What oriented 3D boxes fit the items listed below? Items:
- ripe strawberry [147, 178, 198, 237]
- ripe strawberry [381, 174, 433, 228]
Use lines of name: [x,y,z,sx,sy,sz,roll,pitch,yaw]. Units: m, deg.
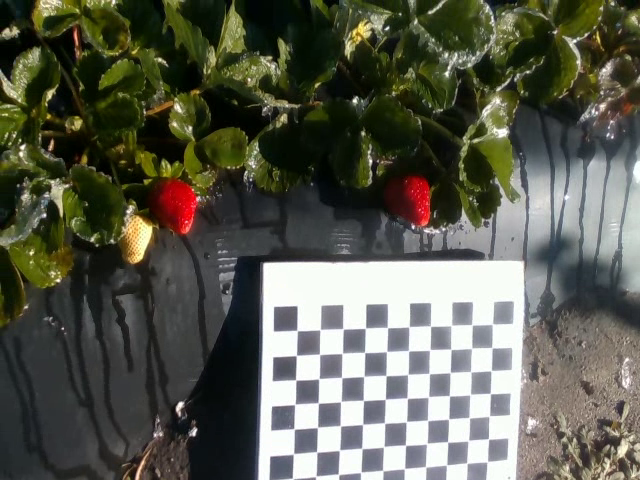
ripe strawberry: [-0.124,-0.023,0.725,0.042,0.061,0.046,-15,-33,-19]
ripe strawberry: [0.092,-0.036,0.799,0.048,0.061,0.044,-7,-26,-20]
